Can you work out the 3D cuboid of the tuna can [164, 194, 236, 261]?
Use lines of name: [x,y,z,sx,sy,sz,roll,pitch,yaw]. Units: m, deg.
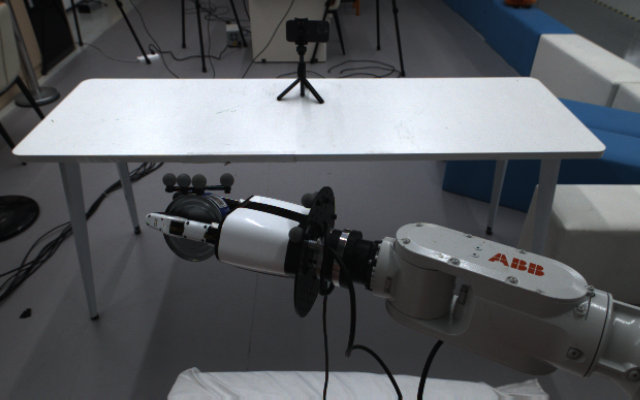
tuna can: [-0.152,0.034,0.614,0.085,0.085,0.034,11,7,13]
